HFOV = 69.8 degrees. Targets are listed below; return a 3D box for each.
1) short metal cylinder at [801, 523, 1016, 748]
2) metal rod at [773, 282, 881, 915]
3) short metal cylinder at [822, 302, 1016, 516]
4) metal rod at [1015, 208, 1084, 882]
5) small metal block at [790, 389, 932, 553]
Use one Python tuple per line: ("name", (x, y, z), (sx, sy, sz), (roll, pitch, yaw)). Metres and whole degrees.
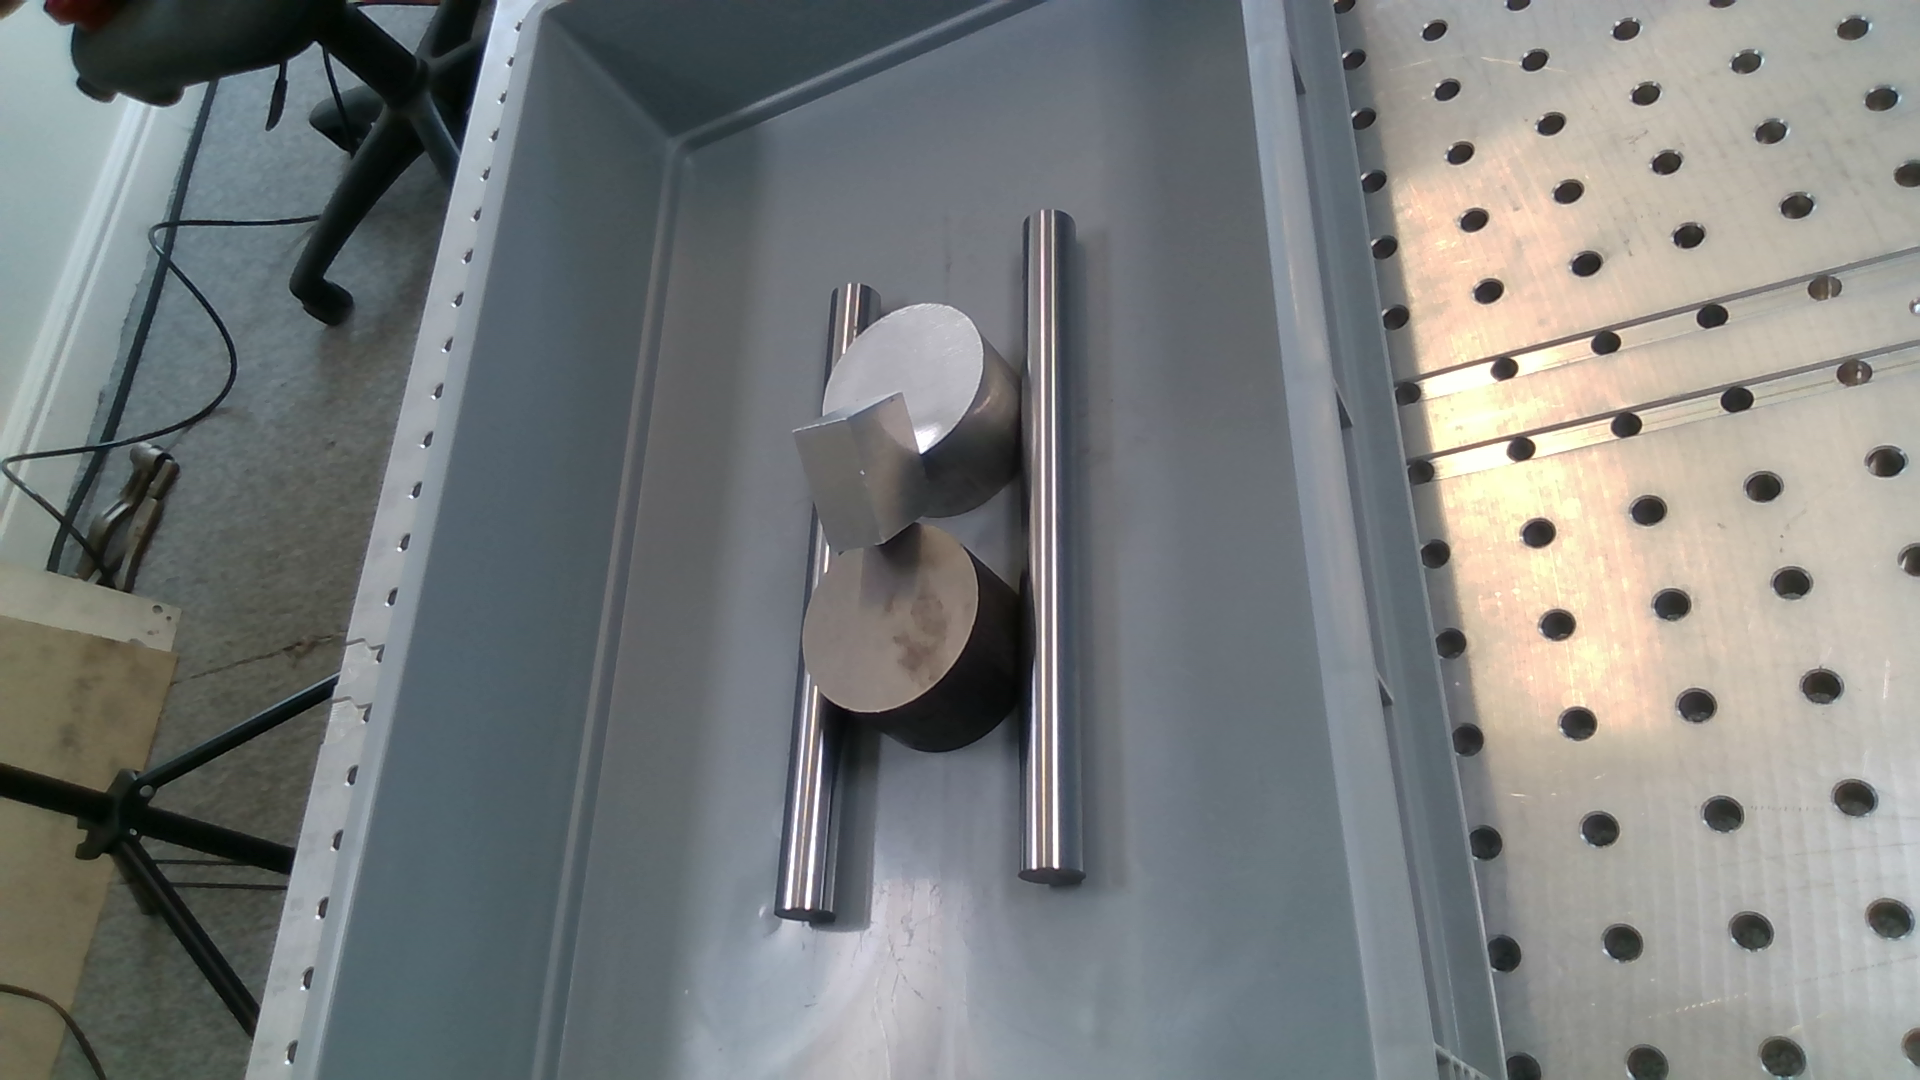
("short metal cylinder", (-0.017, 0.040, 0.558), (0.080, 0.050, 0.080), (-14, 59, 25))
("metal rod", (-0.056, 0.014, 0.612), (0.025, 0.025, 0.299), (-12, 60, 26))
("short metal cylinder", (-0.014, -0.057, 0.607), (0.080, 0.050, 0.080), (-14, 59, 25))
("metal rod", (0.037, -0.012, 0.568), (0.025, 0.025, 0.299), (-13, 60, 26))
("small metal block", (-0.038, -0.028, 0.547), (0.025, 0.050, 0.050), (-11, 103, 26))
